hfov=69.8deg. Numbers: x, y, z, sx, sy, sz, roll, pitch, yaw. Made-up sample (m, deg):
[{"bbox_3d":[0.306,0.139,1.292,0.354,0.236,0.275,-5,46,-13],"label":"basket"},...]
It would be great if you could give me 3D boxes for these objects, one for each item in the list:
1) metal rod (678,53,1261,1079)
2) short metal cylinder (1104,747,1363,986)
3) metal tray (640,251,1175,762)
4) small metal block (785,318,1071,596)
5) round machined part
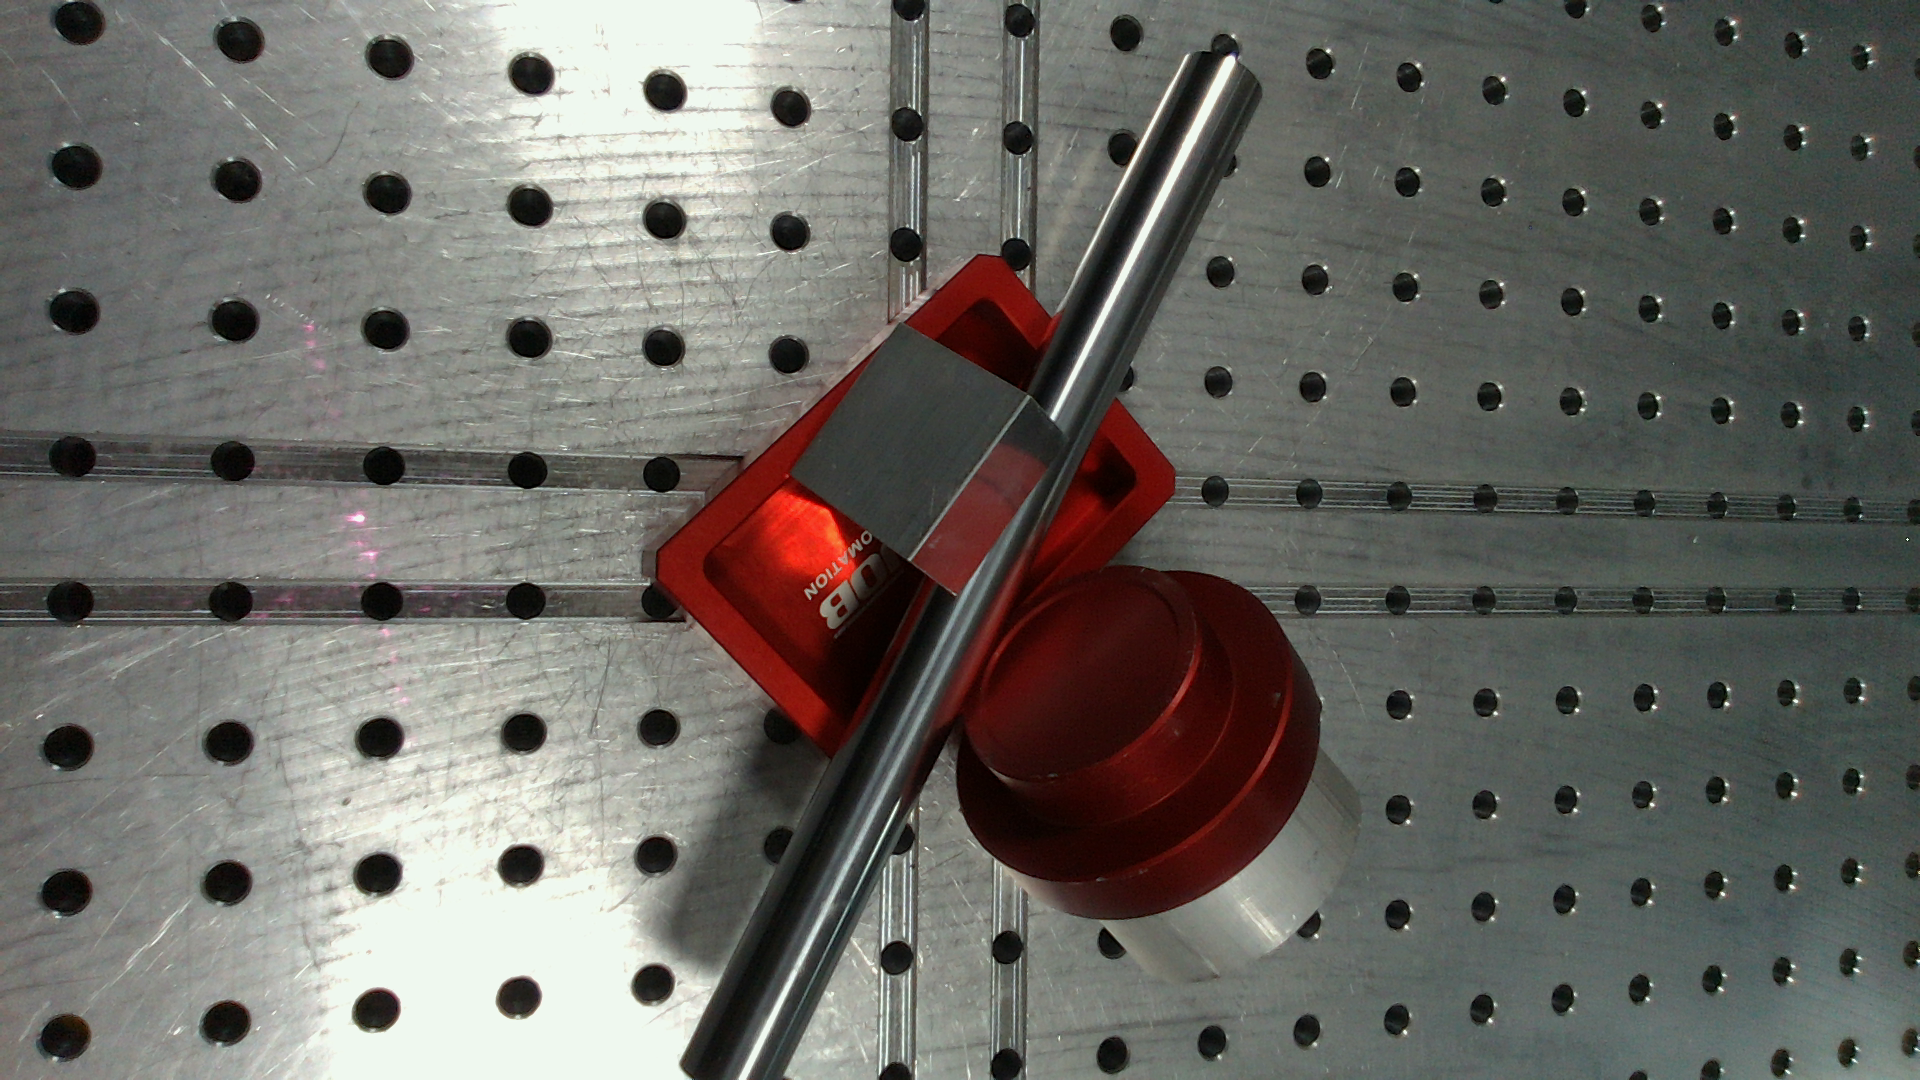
[{"bbox_3d":[0.007,0.003,0.366,0.025,0.025,0.300,29,80,-17],"label":"metal rod"},{"bbox_3d":[0.065,0.077,0.389,0.080,0.080,0.050,-45,104,-14],"label":"short metal cylinder"},{"bbox_3d":[-0.012,-0.006,0.388,0.130,0.030,0.090,-45,104,-14],"label":"metal tray"},{"bbox_3d":[-0.009,-0.022,0.356,0.050,0.050,0.025,-54,144,-2],"label":"small metal block"},{"bbox_3d":[0.041,0.046,0.361,0.098,0.098,0.042,-48,127,-13],"label":"round machined part"}]
